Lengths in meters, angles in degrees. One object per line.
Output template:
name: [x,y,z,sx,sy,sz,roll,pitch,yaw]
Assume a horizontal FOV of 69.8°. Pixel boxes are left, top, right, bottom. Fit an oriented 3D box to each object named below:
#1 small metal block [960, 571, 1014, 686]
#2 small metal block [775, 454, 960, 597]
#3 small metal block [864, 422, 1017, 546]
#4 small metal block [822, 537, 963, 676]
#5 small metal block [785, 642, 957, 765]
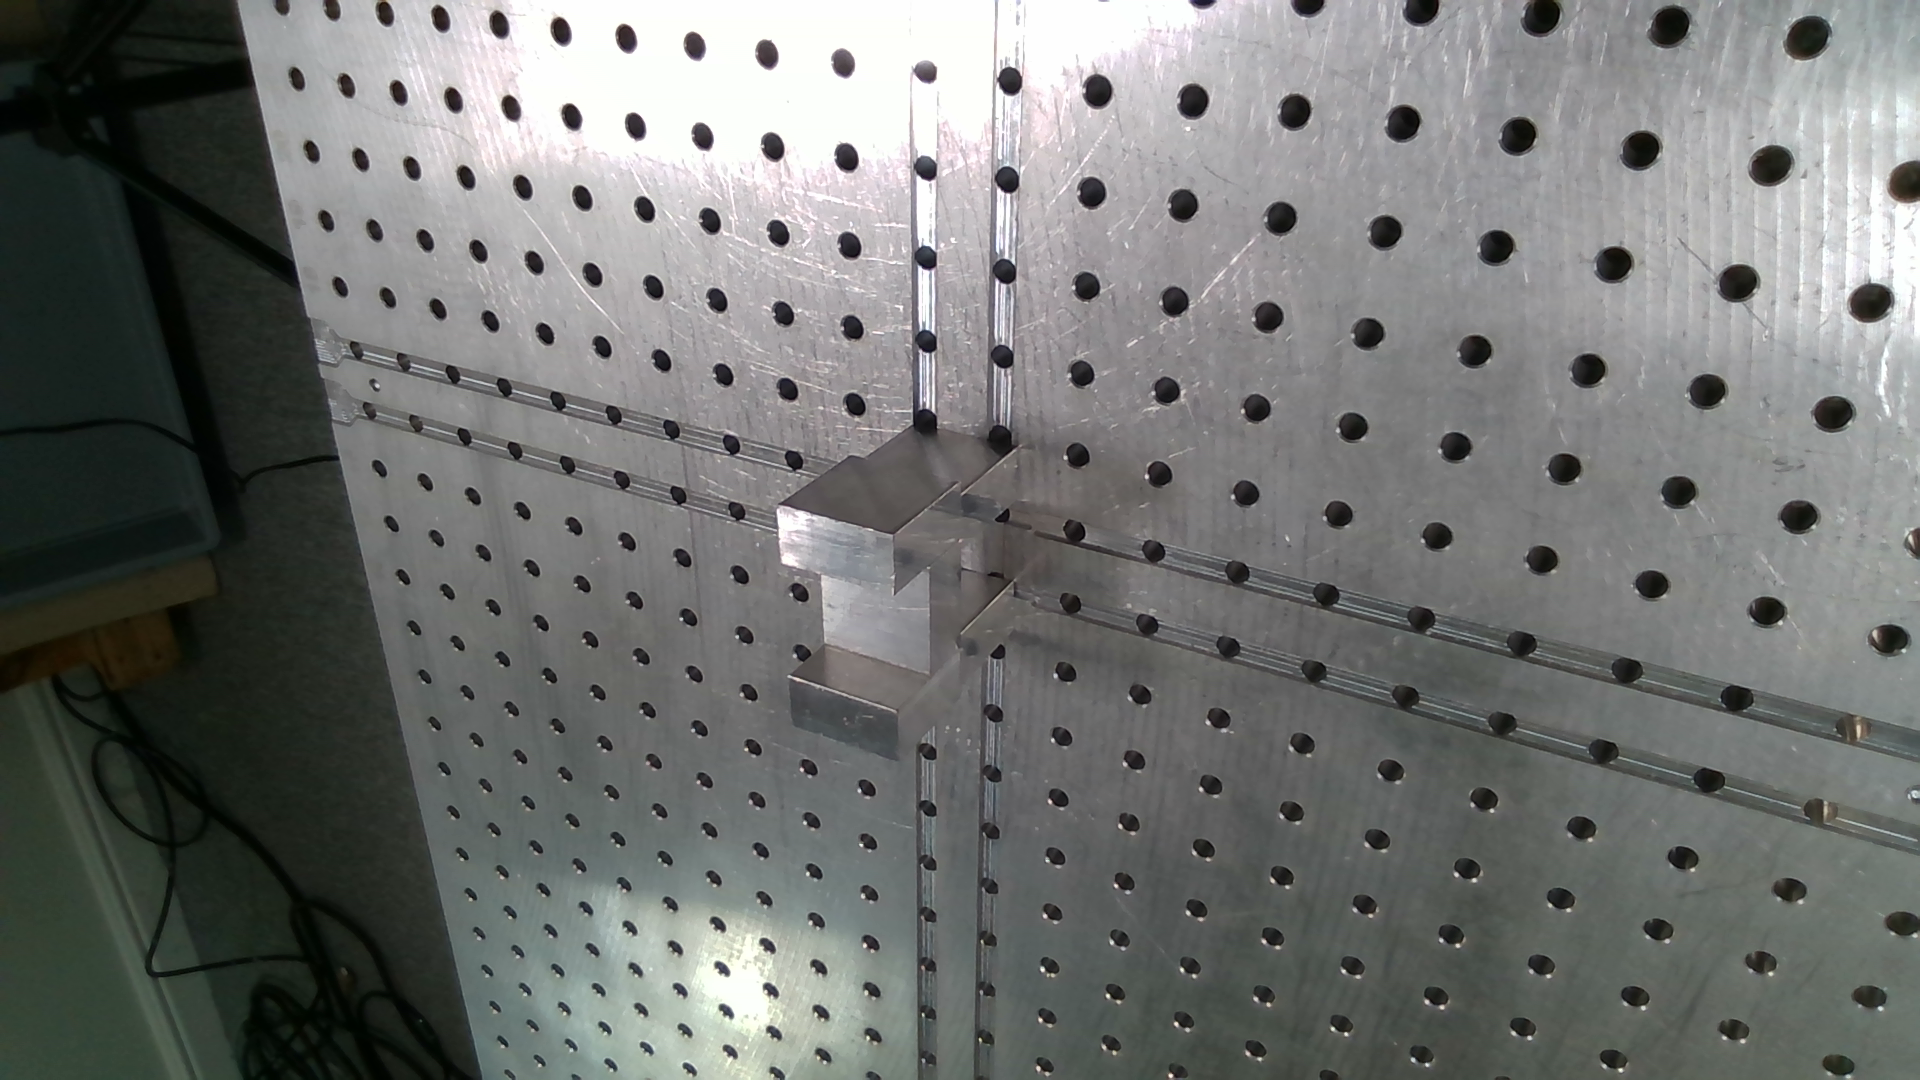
small metal block: [-0.011,0.034,0.591,0.050,0.050,0.025,14,121,25]
small metal block: [-0.034,-0.007,0.518,0.050,0.050,0.025,15,121,24]
small metal block: [-0.010,-0.023,0.560,0.050,0.050,0.025,15,122,24]
small metal block: [-0.027,0.020,0.547,0.050,0.025,0.050,15,122,24]
small metal block: [-0.035,0.060,0.554,0.050,0.050,0.025,15,121,24]
